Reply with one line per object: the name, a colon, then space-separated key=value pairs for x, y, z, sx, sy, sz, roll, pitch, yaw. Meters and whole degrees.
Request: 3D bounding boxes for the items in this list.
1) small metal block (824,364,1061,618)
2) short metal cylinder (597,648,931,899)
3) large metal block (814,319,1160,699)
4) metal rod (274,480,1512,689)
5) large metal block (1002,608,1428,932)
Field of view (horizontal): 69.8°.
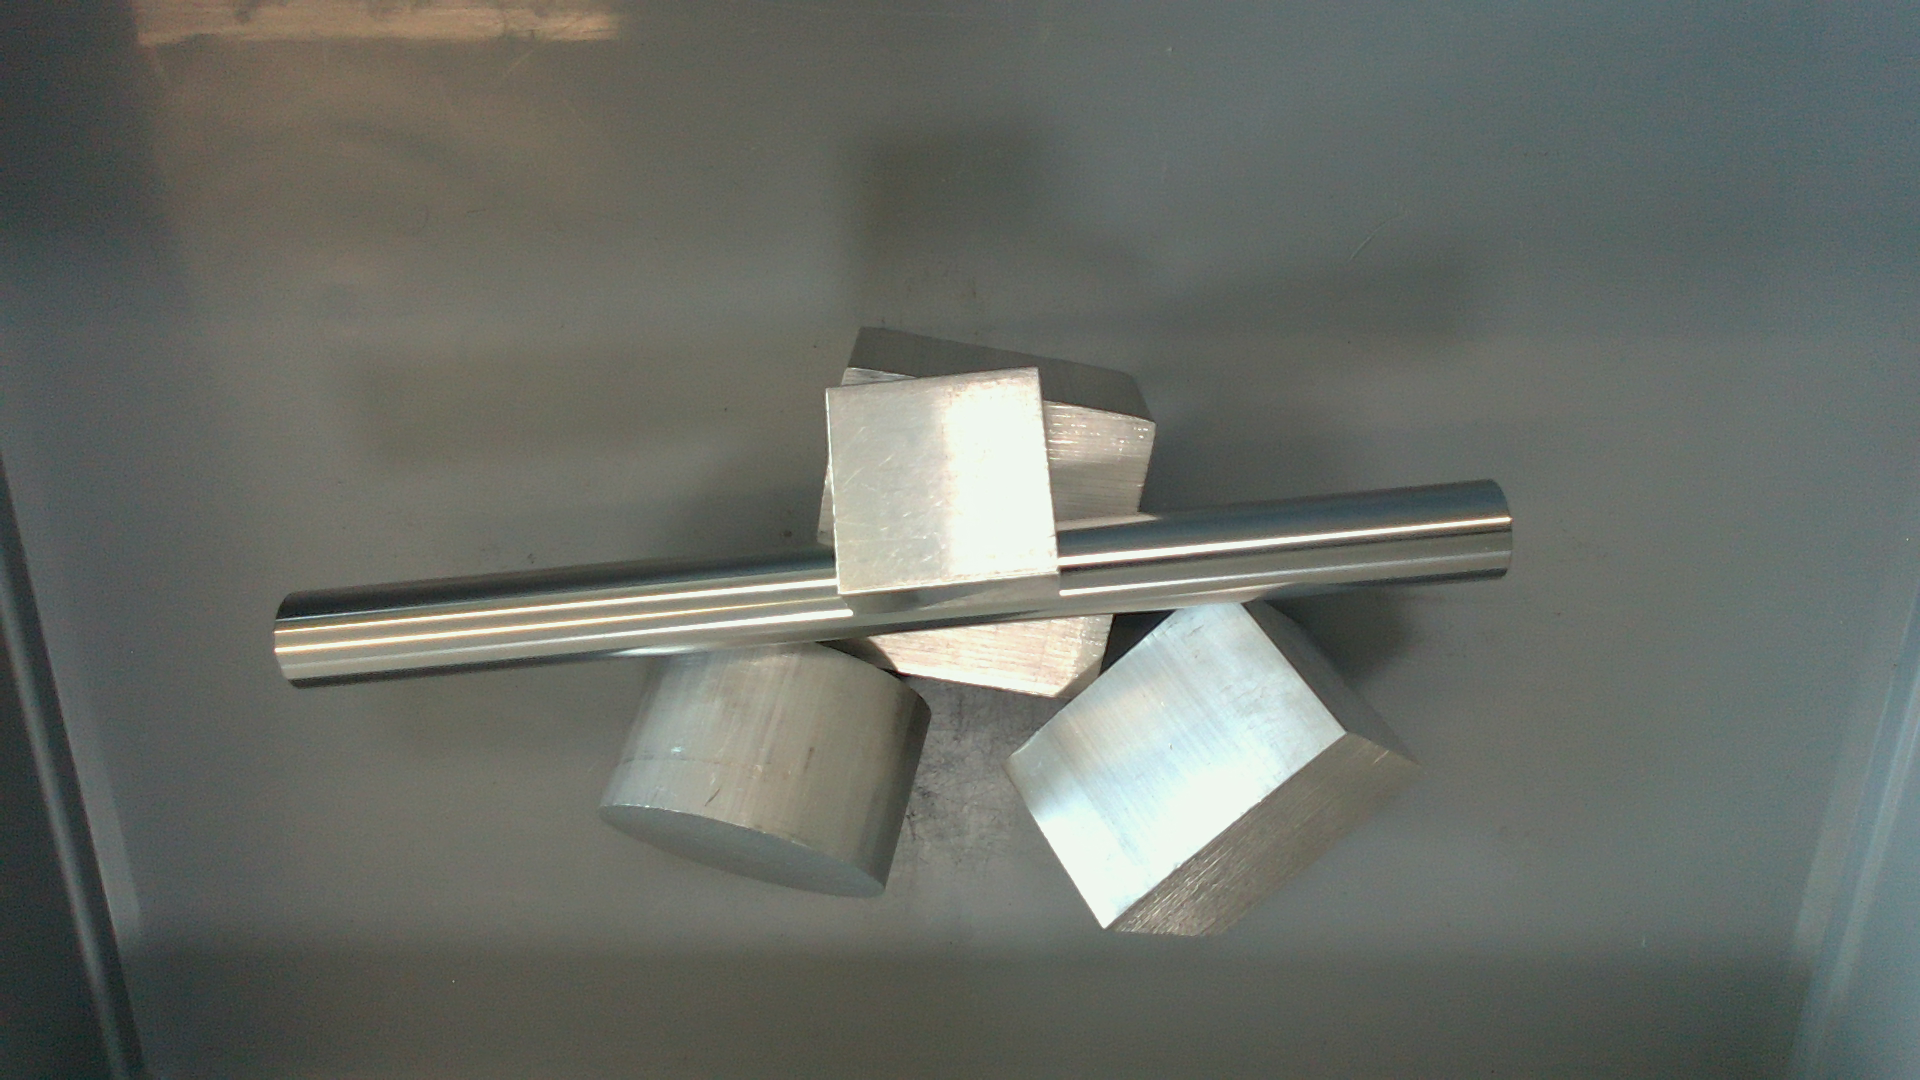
small metal block: x=-0.004 y=-0.011 z=0.323 sx=0.050 sy=0.025 sz=0.050 roll=-5 pitch=75 yaw=2
short metal cylinder: x=-0.053 y=0.063 z=0.380 sx=0.080 sy=0.080 sz=0.050 roll=18 pitch=66 yaw=-7
large metal block: x=0.003 y=-0.009 z=0.376 sx=0.080 sy=0.050 sz=0.080 roll=10 pitch=110 yaw=-4
metal rod: x=-0.018 y=0.011 z=0.344 sx=0.300 sy=0.025 sz=0.025 roll=-5 pitch=110 yaw=2
large metal block: x=0.072 y=0.063 z=0.380 sx=0.080 sy=0.050 sz=0.080 roll=-43 pitch=148 yaw=14
